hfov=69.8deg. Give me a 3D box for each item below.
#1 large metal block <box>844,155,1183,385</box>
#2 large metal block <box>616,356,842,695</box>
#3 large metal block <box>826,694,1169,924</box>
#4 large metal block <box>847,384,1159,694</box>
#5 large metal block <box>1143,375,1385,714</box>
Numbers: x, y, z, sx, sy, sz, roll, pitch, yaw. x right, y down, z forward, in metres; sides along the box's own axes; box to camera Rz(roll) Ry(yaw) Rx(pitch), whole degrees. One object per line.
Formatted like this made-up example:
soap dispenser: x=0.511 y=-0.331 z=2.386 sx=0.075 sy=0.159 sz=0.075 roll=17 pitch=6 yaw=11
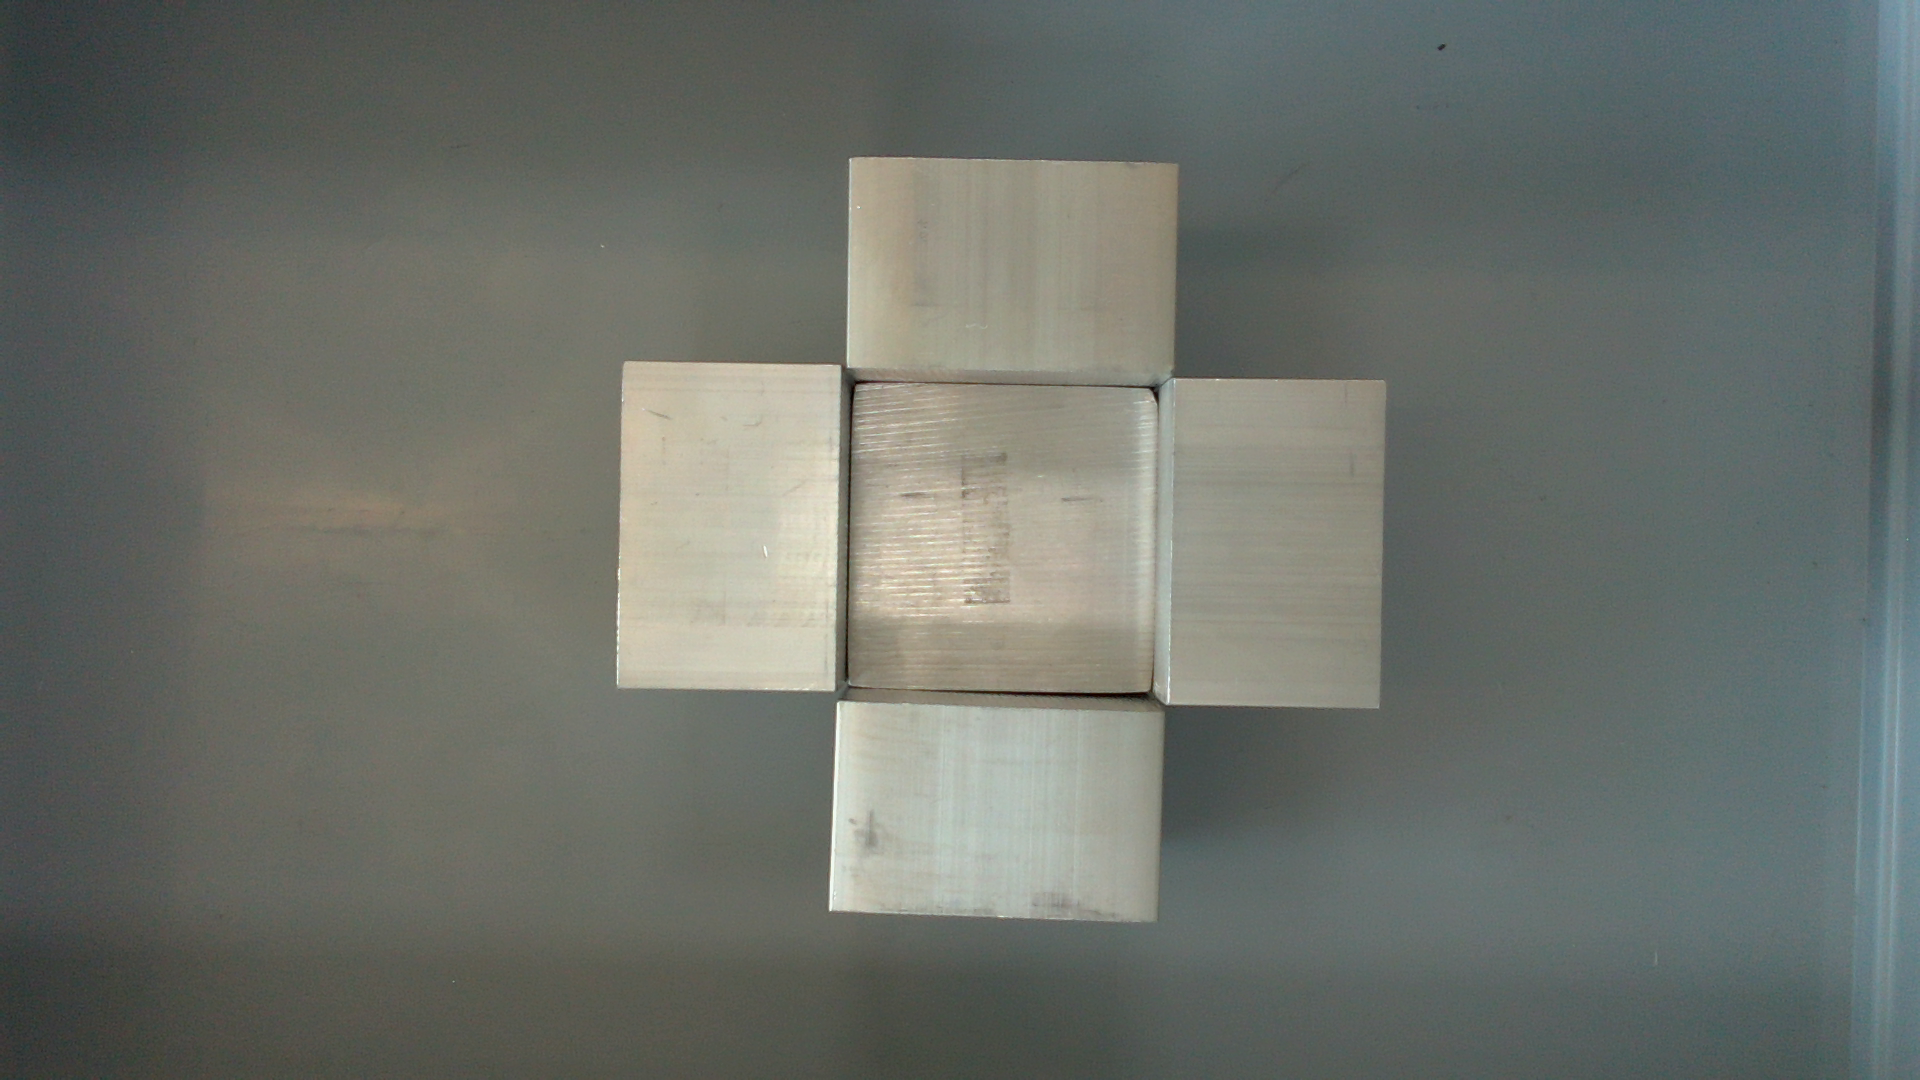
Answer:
large metal block: x=0.013 y=-0.066 z=0.366 sx=0.080 sy=0.080 sz=0.050 roll=1 pitch=90 yaw=0
large metal block: x=-0.056 y=-0.004 z=0.367 sx=0.050 sy=0.080 sz=0.080 roll=1 pitch=90 yaw=0
large metal block: x=0.009 y=0.065 z=0.367 sx=0.080 sy=0.080 sz=0.050 roll=2 pitch=90 yaw=0
large metal block: x=0.011 y=-0.001 z=0.381 sx=0.080 sy=0.050 sz=0.080 roll=1 pitch=90 yaw=0
large metal block: x=0.076 y=0.001 z=0.368 sx=0.050 sy=0.080 sz=0.080 roll=1 pitch=90 yaw=0
